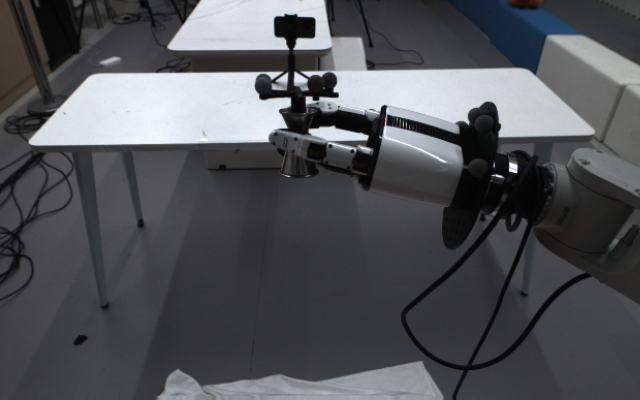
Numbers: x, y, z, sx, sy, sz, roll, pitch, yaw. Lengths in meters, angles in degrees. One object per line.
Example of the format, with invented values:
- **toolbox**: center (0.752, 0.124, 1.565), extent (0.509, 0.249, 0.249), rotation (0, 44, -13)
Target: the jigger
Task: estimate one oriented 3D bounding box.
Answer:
- **jigger**: center (-0.023, -0.062, 0.518), extent (0.043, 0.071, 0.043), rotation (0, 21, 0)
